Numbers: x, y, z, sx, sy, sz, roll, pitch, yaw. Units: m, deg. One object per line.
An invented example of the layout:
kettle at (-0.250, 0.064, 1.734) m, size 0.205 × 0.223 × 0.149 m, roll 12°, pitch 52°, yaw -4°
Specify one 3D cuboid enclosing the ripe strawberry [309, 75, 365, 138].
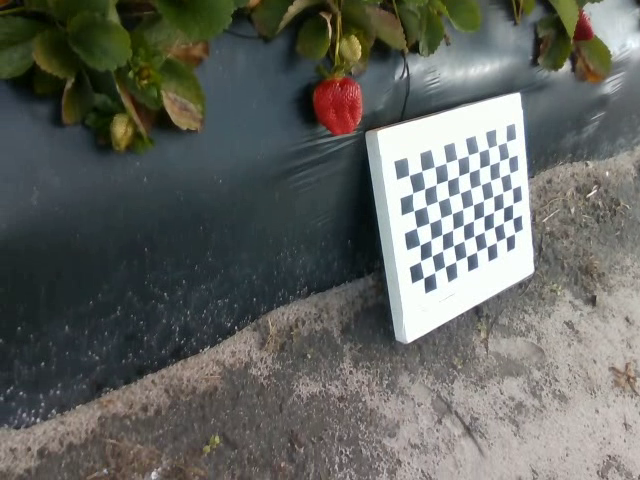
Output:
ripe strawberry at (0.022, -0.162, 0.676) m, size 0.067 × 0.075 × 0.039 m, roll -15°, pitch 13°, yaw -32°
